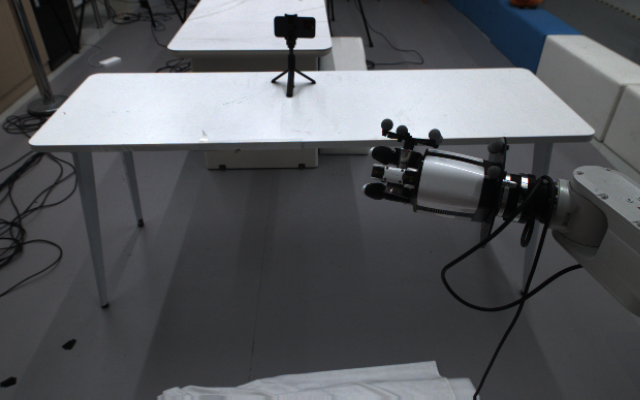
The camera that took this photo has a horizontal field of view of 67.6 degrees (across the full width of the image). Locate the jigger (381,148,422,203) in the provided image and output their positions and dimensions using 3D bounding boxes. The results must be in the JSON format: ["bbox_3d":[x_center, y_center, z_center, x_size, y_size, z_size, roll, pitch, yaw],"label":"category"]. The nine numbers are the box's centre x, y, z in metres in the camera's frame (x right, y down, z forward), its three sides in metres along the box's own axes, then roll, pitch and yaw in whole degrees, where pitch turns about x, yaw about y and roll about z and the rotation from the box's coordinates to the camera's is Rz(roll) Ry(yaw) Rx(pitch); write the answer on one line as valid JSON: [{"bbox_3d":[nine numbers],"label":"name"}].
[{"bbox_3d":[0.123,-0.040,0.713,0.043,0.071,0.043,14,1,0],"label":"jigger"}]
